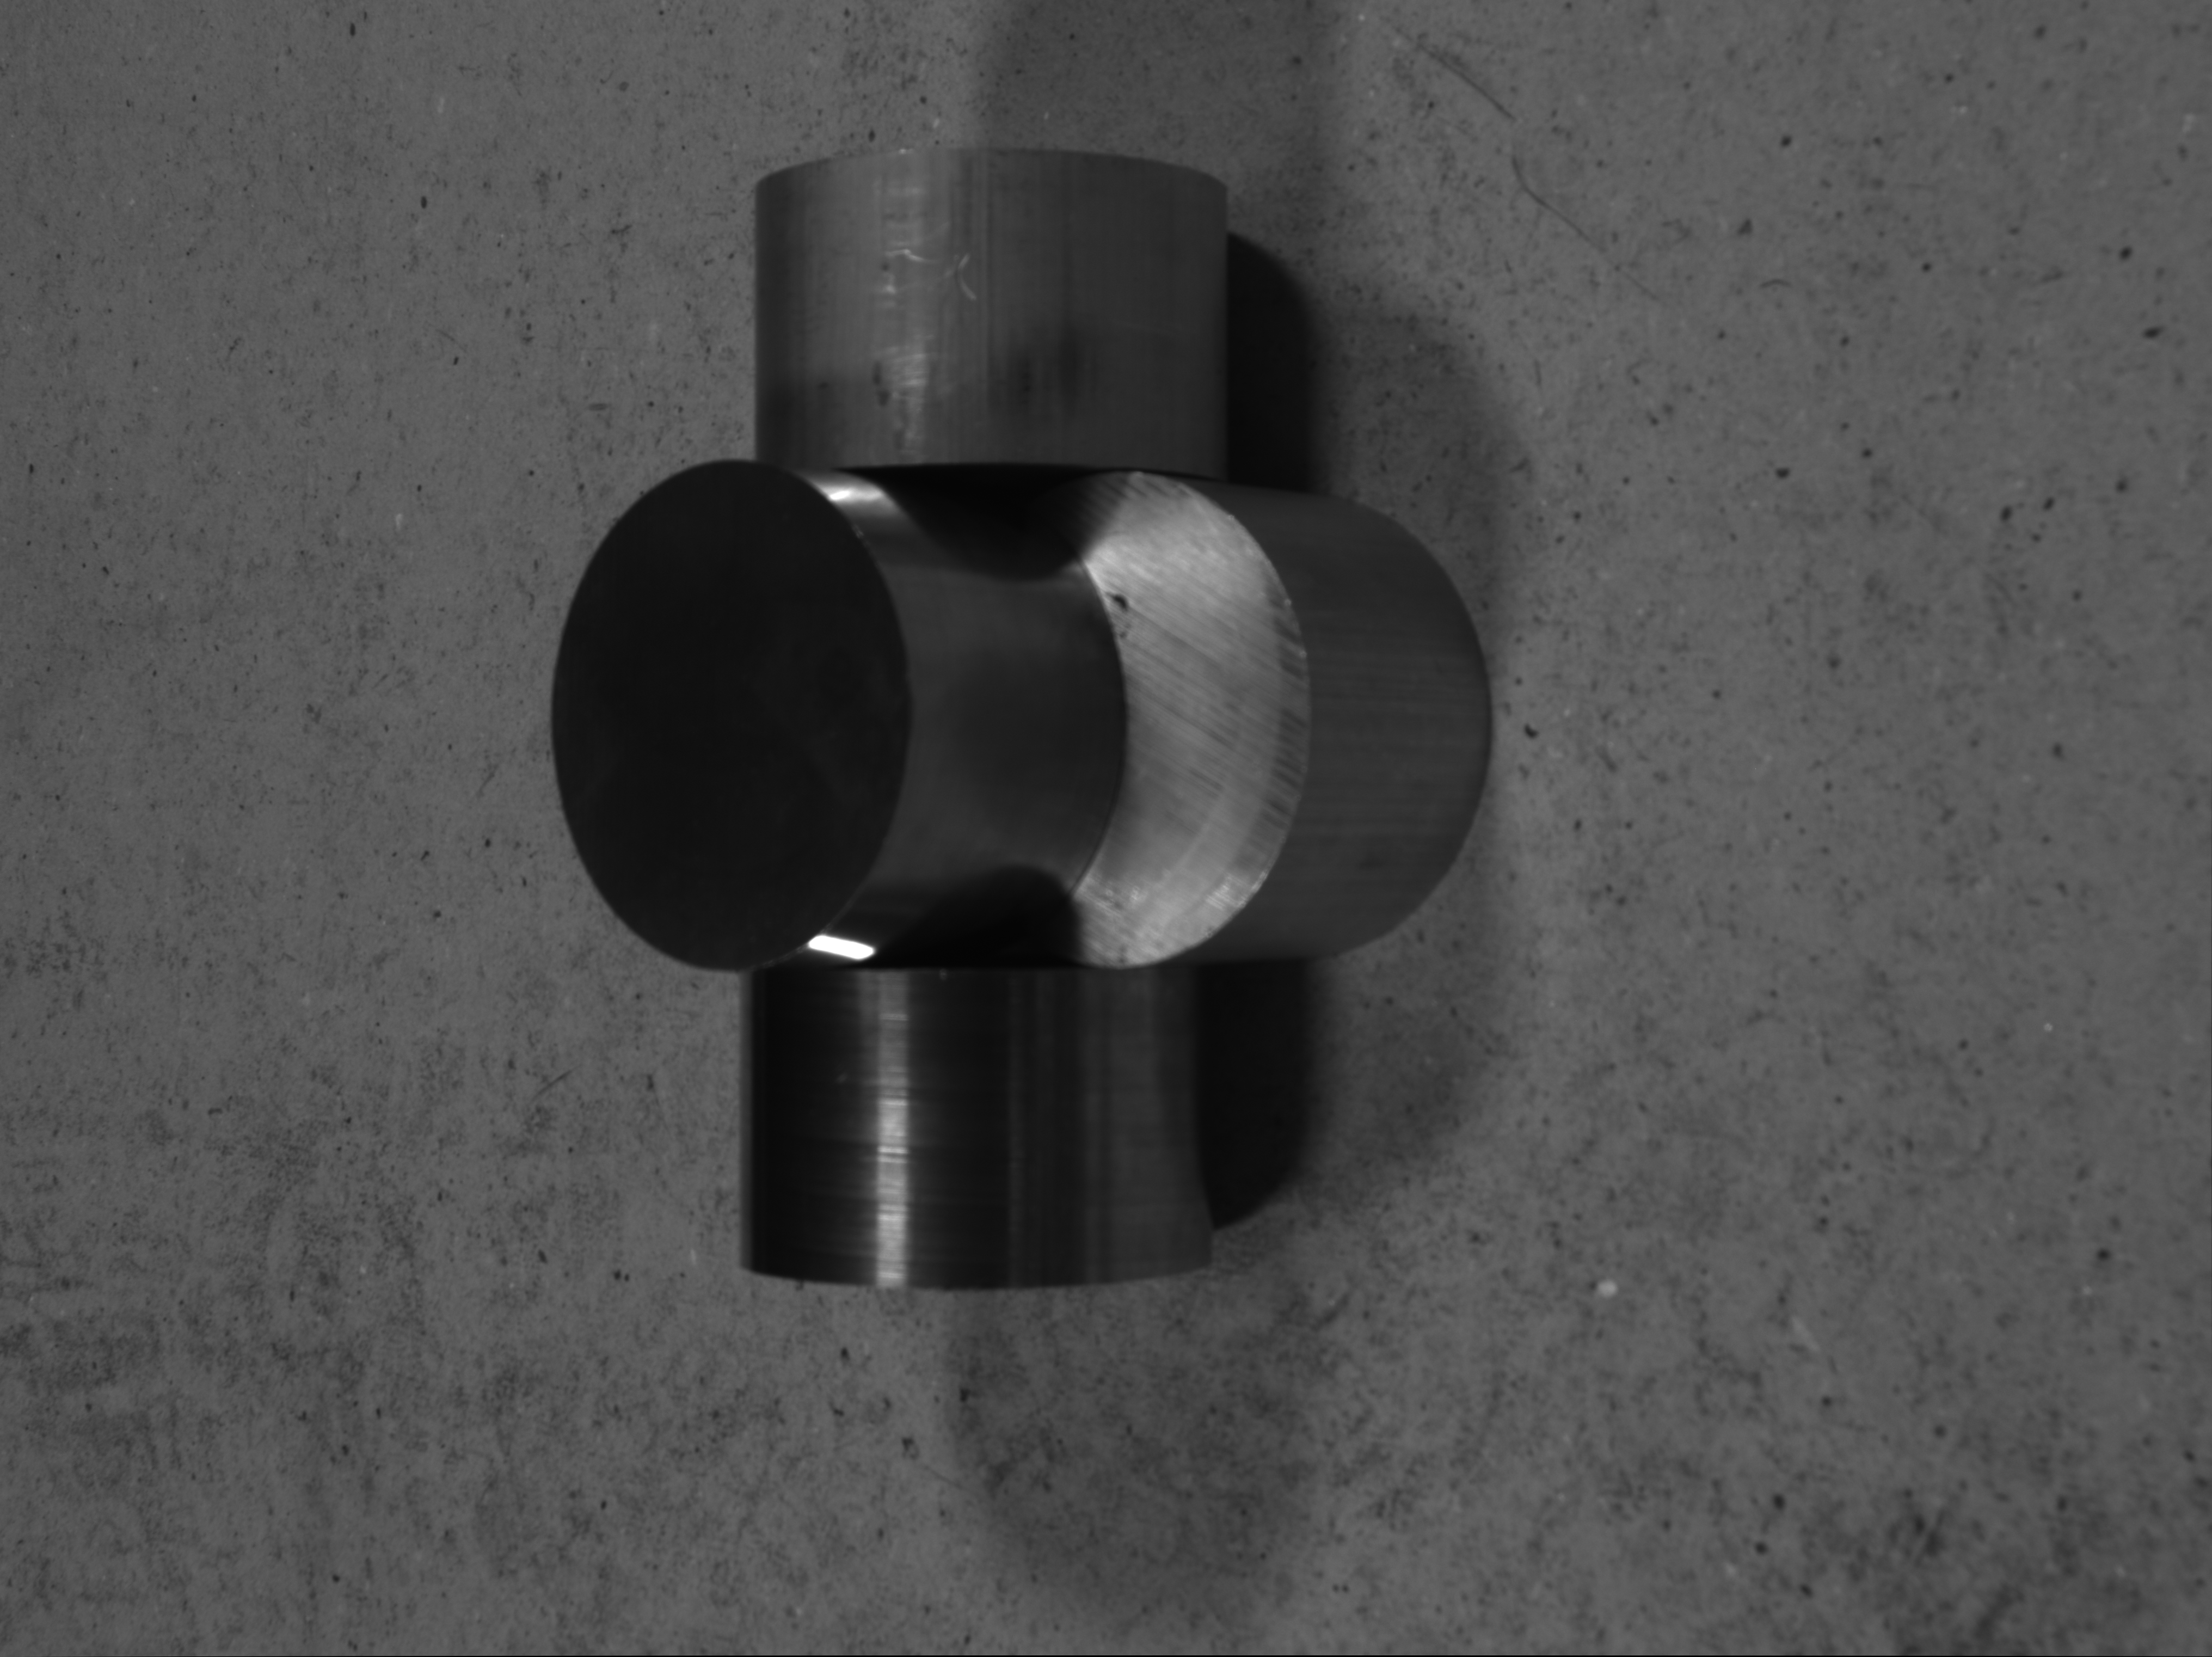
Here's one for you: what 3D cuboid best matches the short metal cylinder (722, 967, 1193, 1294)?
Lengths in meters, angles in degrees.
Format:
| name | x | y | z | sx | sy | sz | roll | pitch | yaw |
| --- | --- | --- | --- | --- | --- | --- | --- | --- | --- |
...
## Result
| name | x | y | z | sx | sy | sz | roll | pitch | yaw |
| --- | --- | --- | --- | --- | --- | --- | --- | --- | --- |
| short metal cylinder | -0.025 | 0.049 | 0.622 | 0.080 | 0.080 | 0.050 | 0 | 90 | 39 |

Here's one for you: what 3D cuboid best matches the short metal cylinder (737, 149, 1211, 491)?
| name | x | y | z | sx | sy | sz | roll | pitch | yaw |
| --- | --- | --- | --- | --- | --- | --- | --- | --- | --- |
| short metal cylinder | -0.022 | -0.082 | 0.620 | 0.080 | 0.080 | 0.050 | 0 | 90 | 39 |

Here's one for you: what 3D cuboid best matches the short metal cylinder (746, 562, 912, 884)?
| name | x | y | z | sx | sy | sz | roll | pitch | yaw |
| --- | --- | --- | --- | --- | --- | --- | --- | --- | --- |
| short metal cylinder | -0.048 | -0.017 | 0.660 | 0.080 | 0.050 | 0.080 | 0 | 90 | 39 |

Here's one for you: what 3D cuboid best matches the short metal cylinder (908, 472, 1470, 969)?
| name | x | y | z | sx | sy | sz | roll | pitch | yaw |
| --- | --- | --- | --- | --- | --- | --- | --- | --- | --- |
| short metal cylinder | 0.013 | -0.017 | 0.609 | 0.080 | 0.050 | 0.080 | 0 | 90 | 39 |

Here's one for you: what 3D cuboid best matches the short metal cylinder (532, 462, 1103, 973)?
| name | x | y | z | sx | sy | sz | roll | pitch | yaw |
| --- | --- | --- | --- | --- | --- | --- | --- | --- | --- |
| short metal cylinder | -0.047 | -0.017 | 0.593 | 0.080 | 0.050 | 0.080 | 0 | 90 | 39 |
